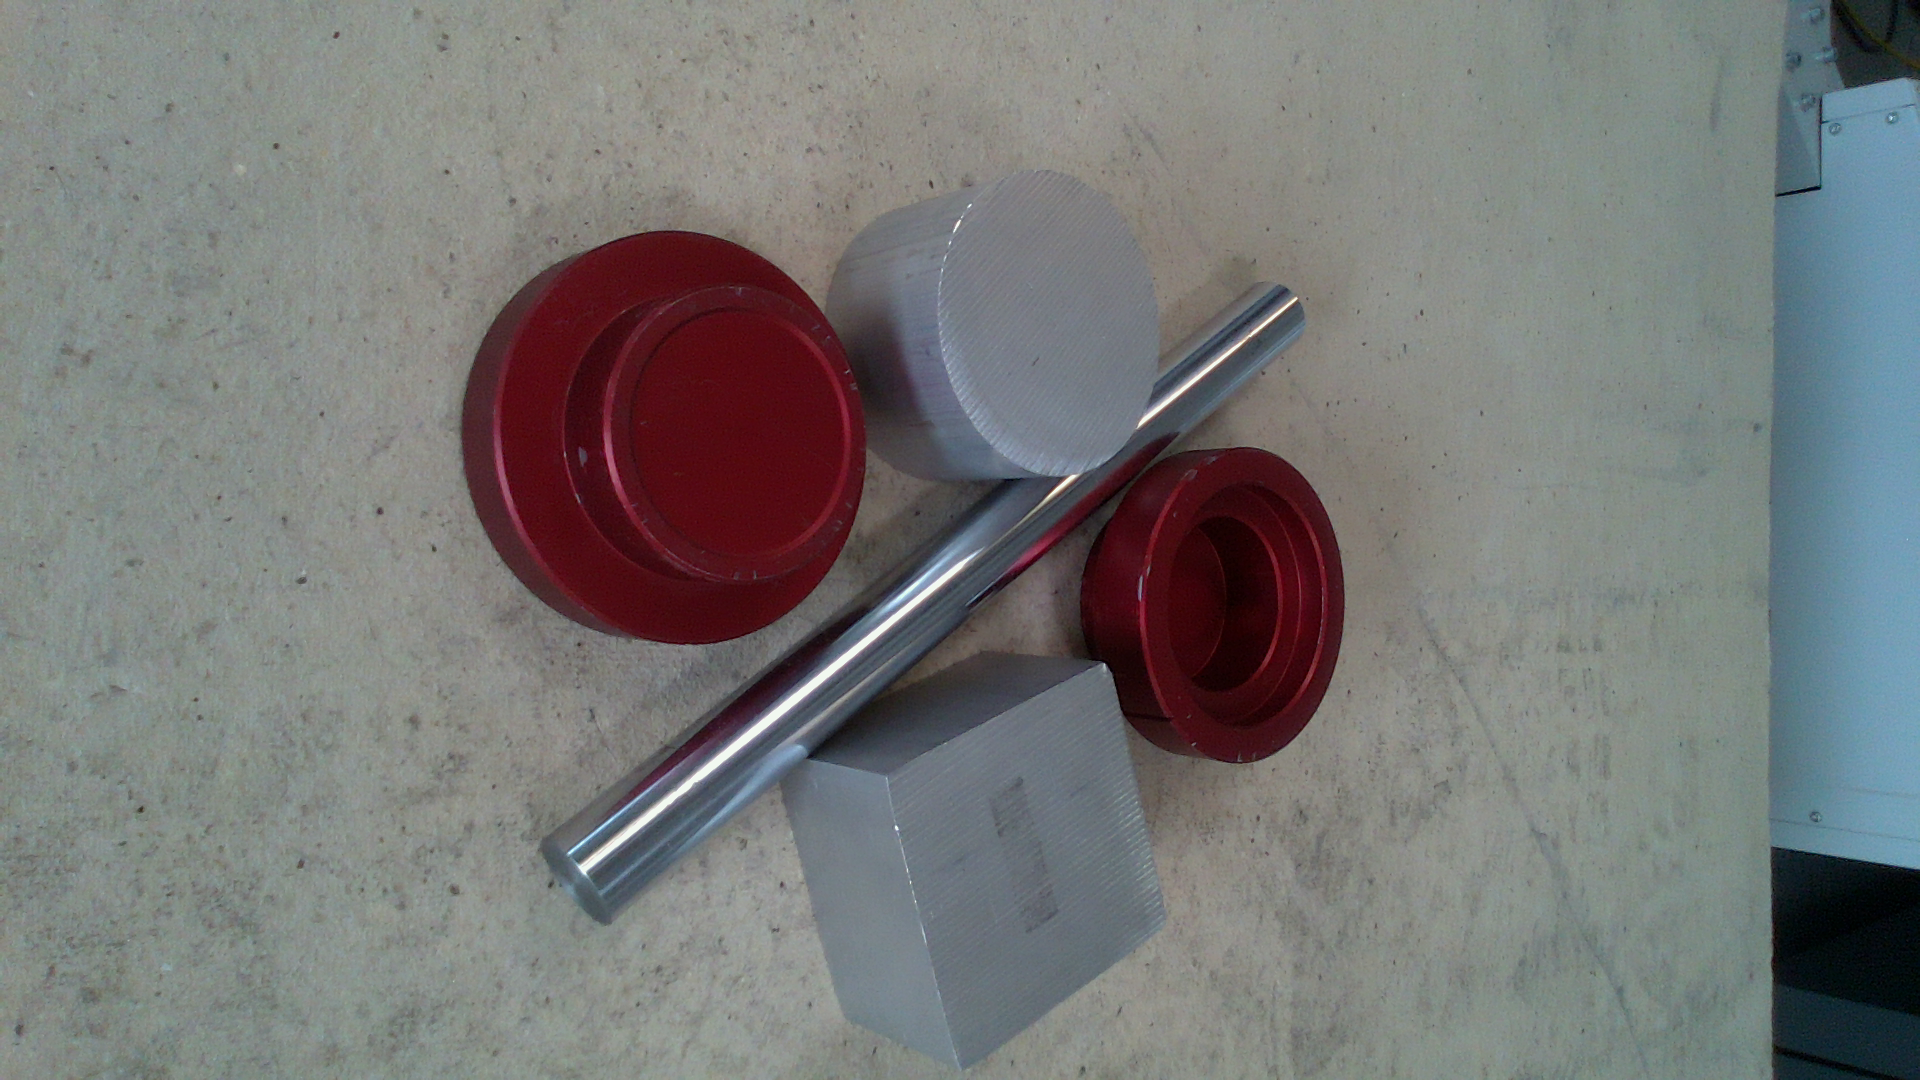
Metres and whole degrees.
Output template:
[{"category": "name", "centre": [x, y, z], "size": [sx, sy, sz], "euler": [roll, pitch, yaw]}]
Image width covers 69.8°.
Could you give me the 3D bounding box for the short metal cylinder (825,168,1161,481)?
[{"category": "short metal cylinder", "centre": [0.010, -0.057, 0.380], "size": [0.080, 0.050, 0.080], "euler": [0, 90, -40]}]

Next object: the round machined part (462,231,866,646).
[{"category": "round machined part", "centre": [-0.062, -0.024, 0.326], "size": [0.098, 0.042, 0.098], "euler": [0, 90, -40]}]

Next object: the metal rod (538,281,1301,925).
[{"category": "metal rod", "centre": [0.010, 0.000, 0.398], "size": [0.301, 0.025, 0.025], "euler": [-39, 114, -33]}]

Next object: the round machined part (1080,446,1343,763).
[{"category": "round machined part", "centre": [0.077, 0.020, 0.441], "size": [0.098, 0.042, 0.098], "euler": [0, 90, -40]}]

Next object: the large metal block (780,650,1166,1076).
[{"category": "large metal block", "centre": [0.004, 0.083, 0.377], "size": [0.080, 0.050, 0.080], "euler": [-22, 104, -38]}]
